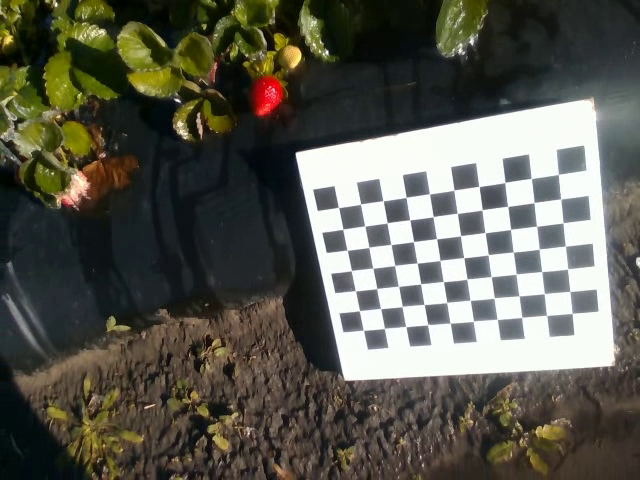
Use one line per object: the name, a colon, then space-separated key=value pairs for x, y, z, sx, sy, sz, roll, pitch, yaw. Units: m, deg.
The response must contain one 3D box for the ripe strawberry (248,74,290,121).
ripe strawberry: x=-0.044 y=-0.114 z=0.482 sx=0.039 sy=0.039 sz=0.040 roll=-15 pitch=-51 yaw=29
